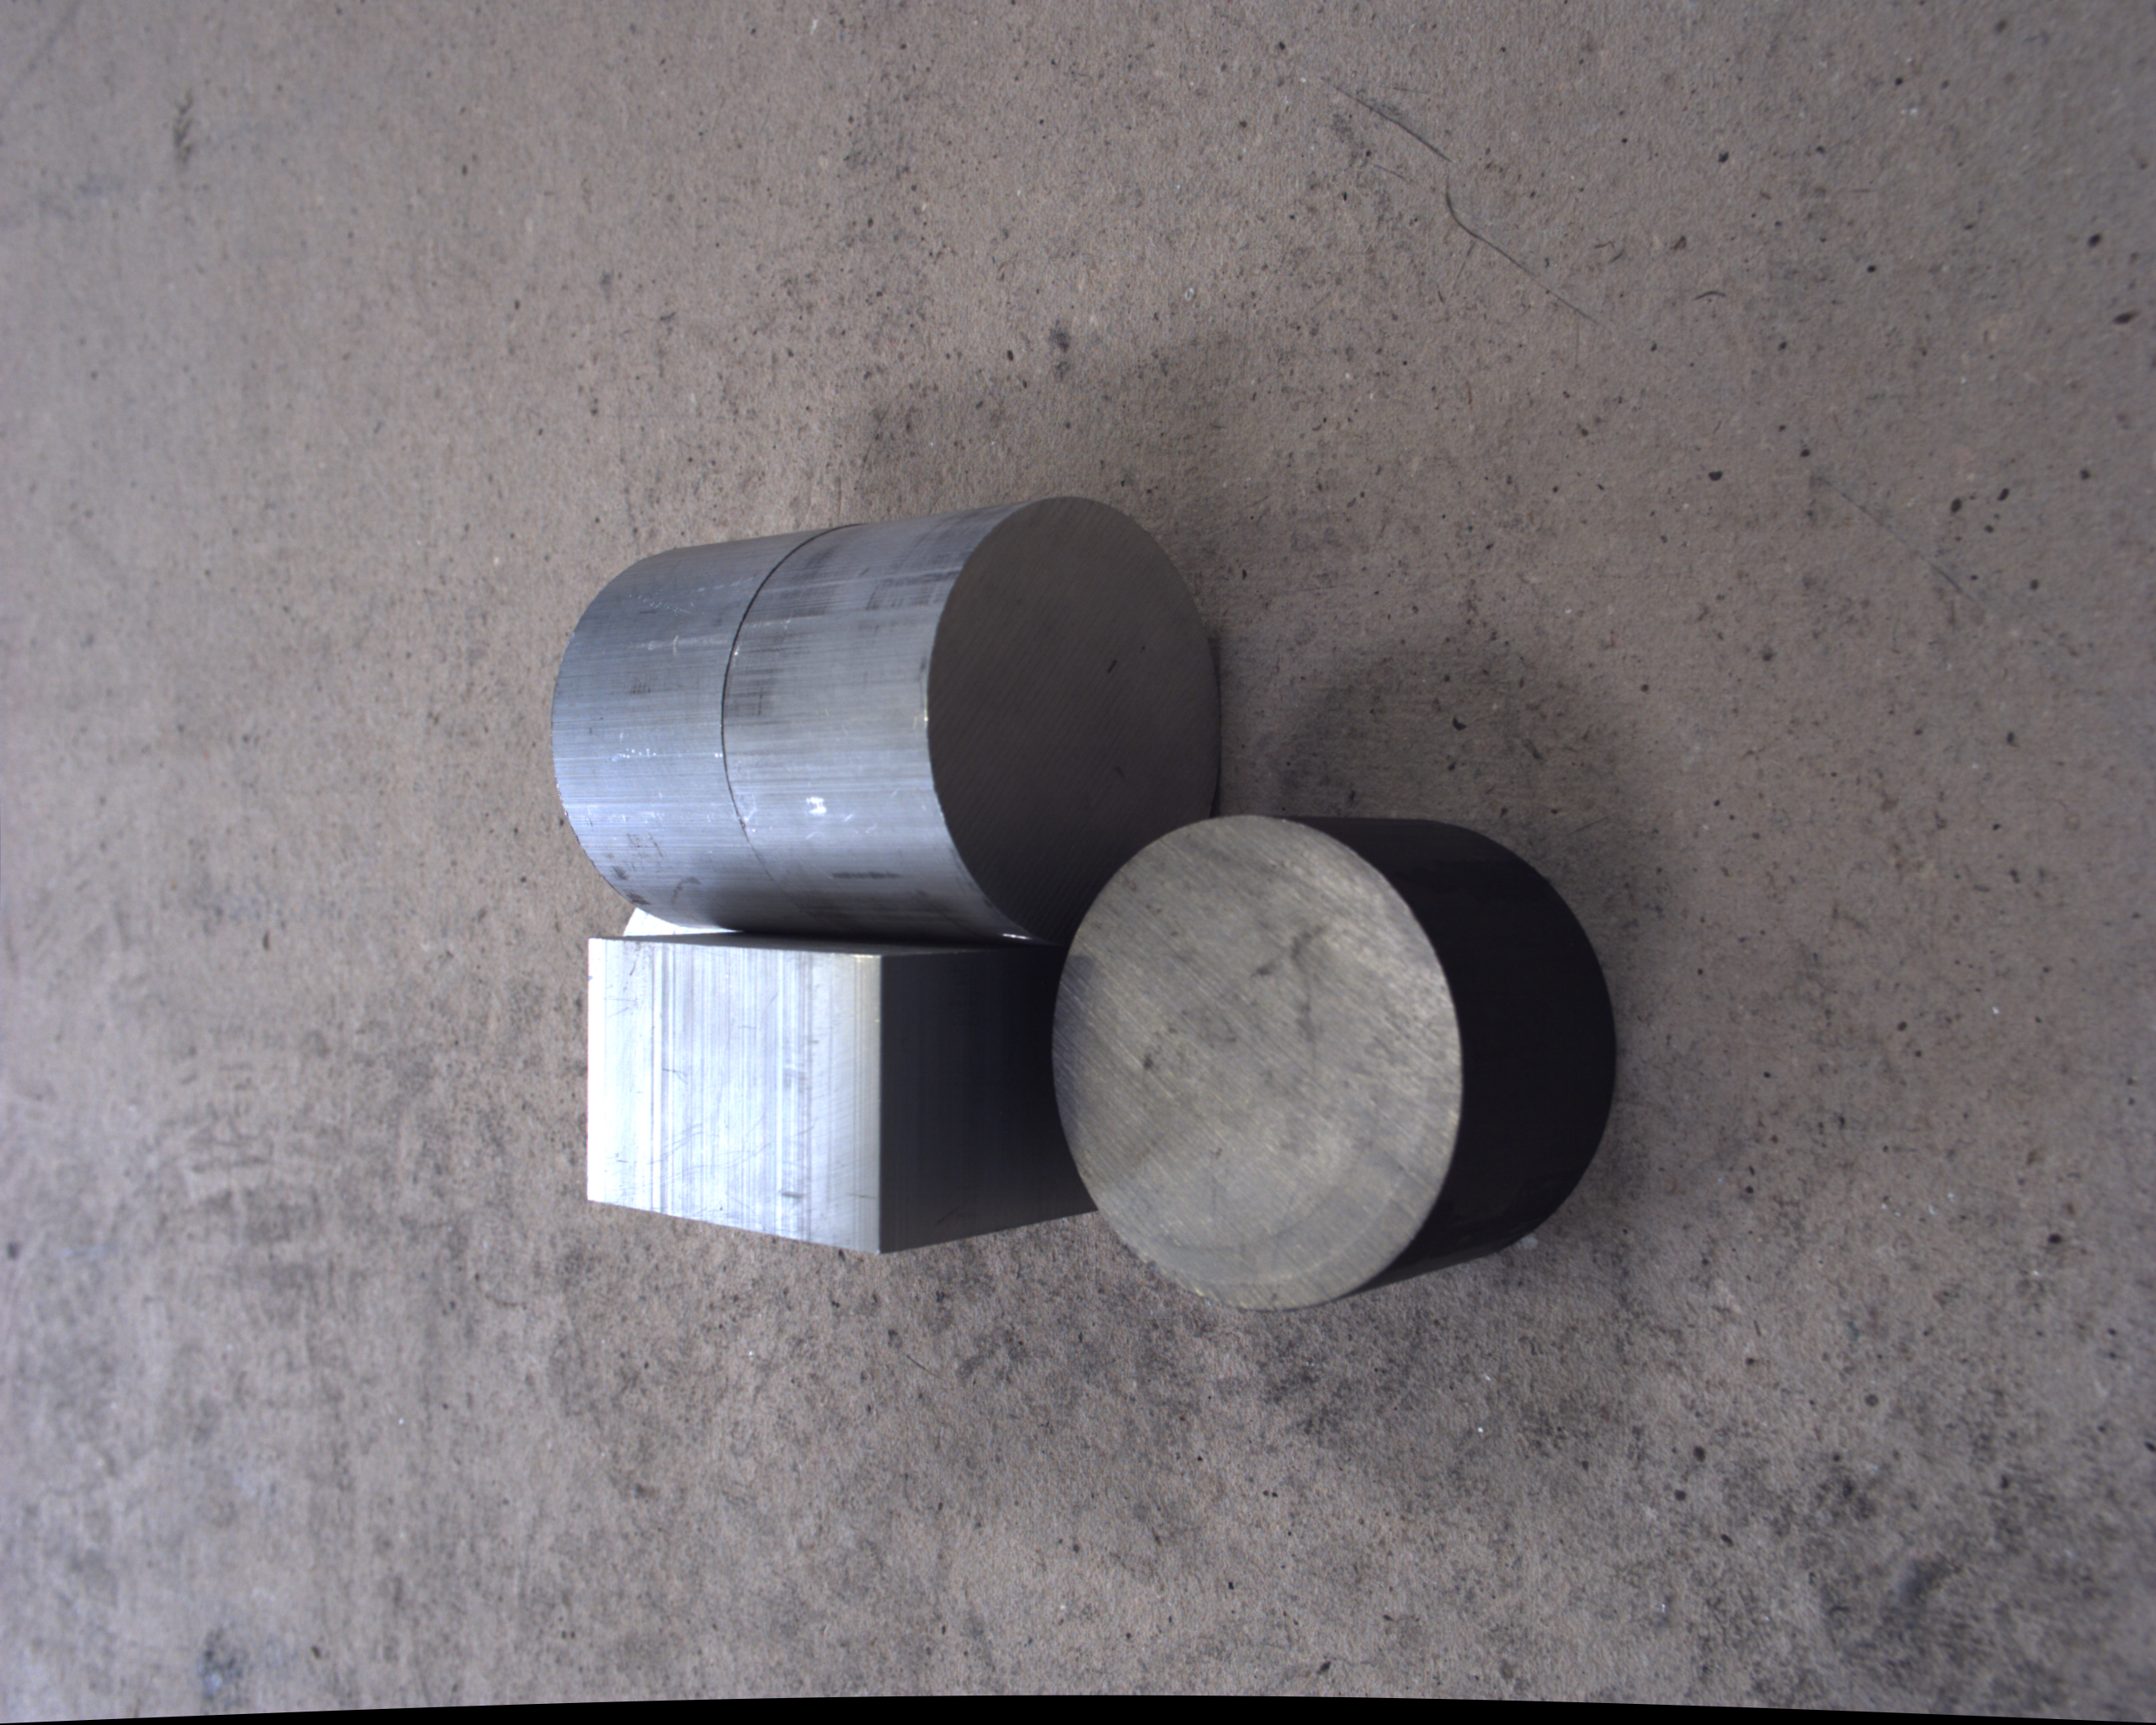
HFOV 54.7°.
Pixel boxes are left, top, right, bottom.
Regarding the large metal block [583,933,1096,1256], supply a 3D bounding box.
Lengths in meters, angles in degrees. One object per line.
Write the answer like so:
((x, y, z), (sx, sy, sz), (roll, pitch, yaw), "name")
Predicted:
((-0.037, 0.040, 0.402), (0.080, 0.081, 0.050), (1, 91, 40), "large metal block")

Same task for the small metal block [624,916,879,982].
((-0.077, 0.025, 0.471), (0.050, 0.025, 0.050), (45, 117, 30), "small metal block")

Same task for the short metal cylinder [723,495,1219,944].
((-0.018, -0.026, 0.386), (0.050, 0.081, 0.079), (1, 91, 40), "short metal cylinder")

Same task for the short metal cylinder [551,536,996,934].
((-0.057, -0.025, 0.418), (0.050, 0.081, 0.079), (1, 91, 40), "short metal cylinder")

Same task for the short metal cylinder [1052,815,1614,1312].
((0.043, 0.032, 0.355), (0.080, 0.050, 0.079), (0, 90, 40), "short metal cylinder")
